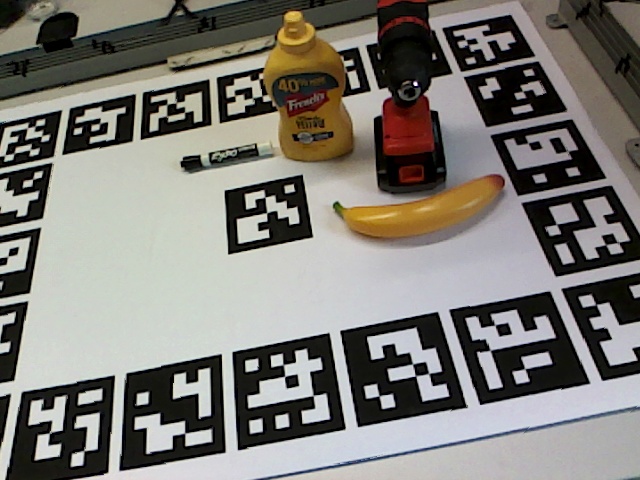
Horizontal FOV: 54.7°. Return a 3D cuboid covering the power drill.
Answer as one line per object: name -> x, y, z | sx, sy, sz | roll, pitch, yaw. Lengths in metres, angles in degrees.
power drill -> 0.094, -0.138, 0.694 | 0.057, 0.186, 0.185 | 1, 53, 9

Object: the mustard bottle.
mustard bottle -> -0.015, -0.161, 0.751 | 0.096, 0.190, 0.058 | -1, 55, 8

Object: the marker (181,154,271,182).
marker -> -0.128, -0.096, 0.833 | 0.121, 0.019, 0.020 | -9, 55, 4

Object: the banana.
banana -> 0.109, -0.012, 0.719 | 0.198, 0.038, 0.074 | -5, 56, 9
